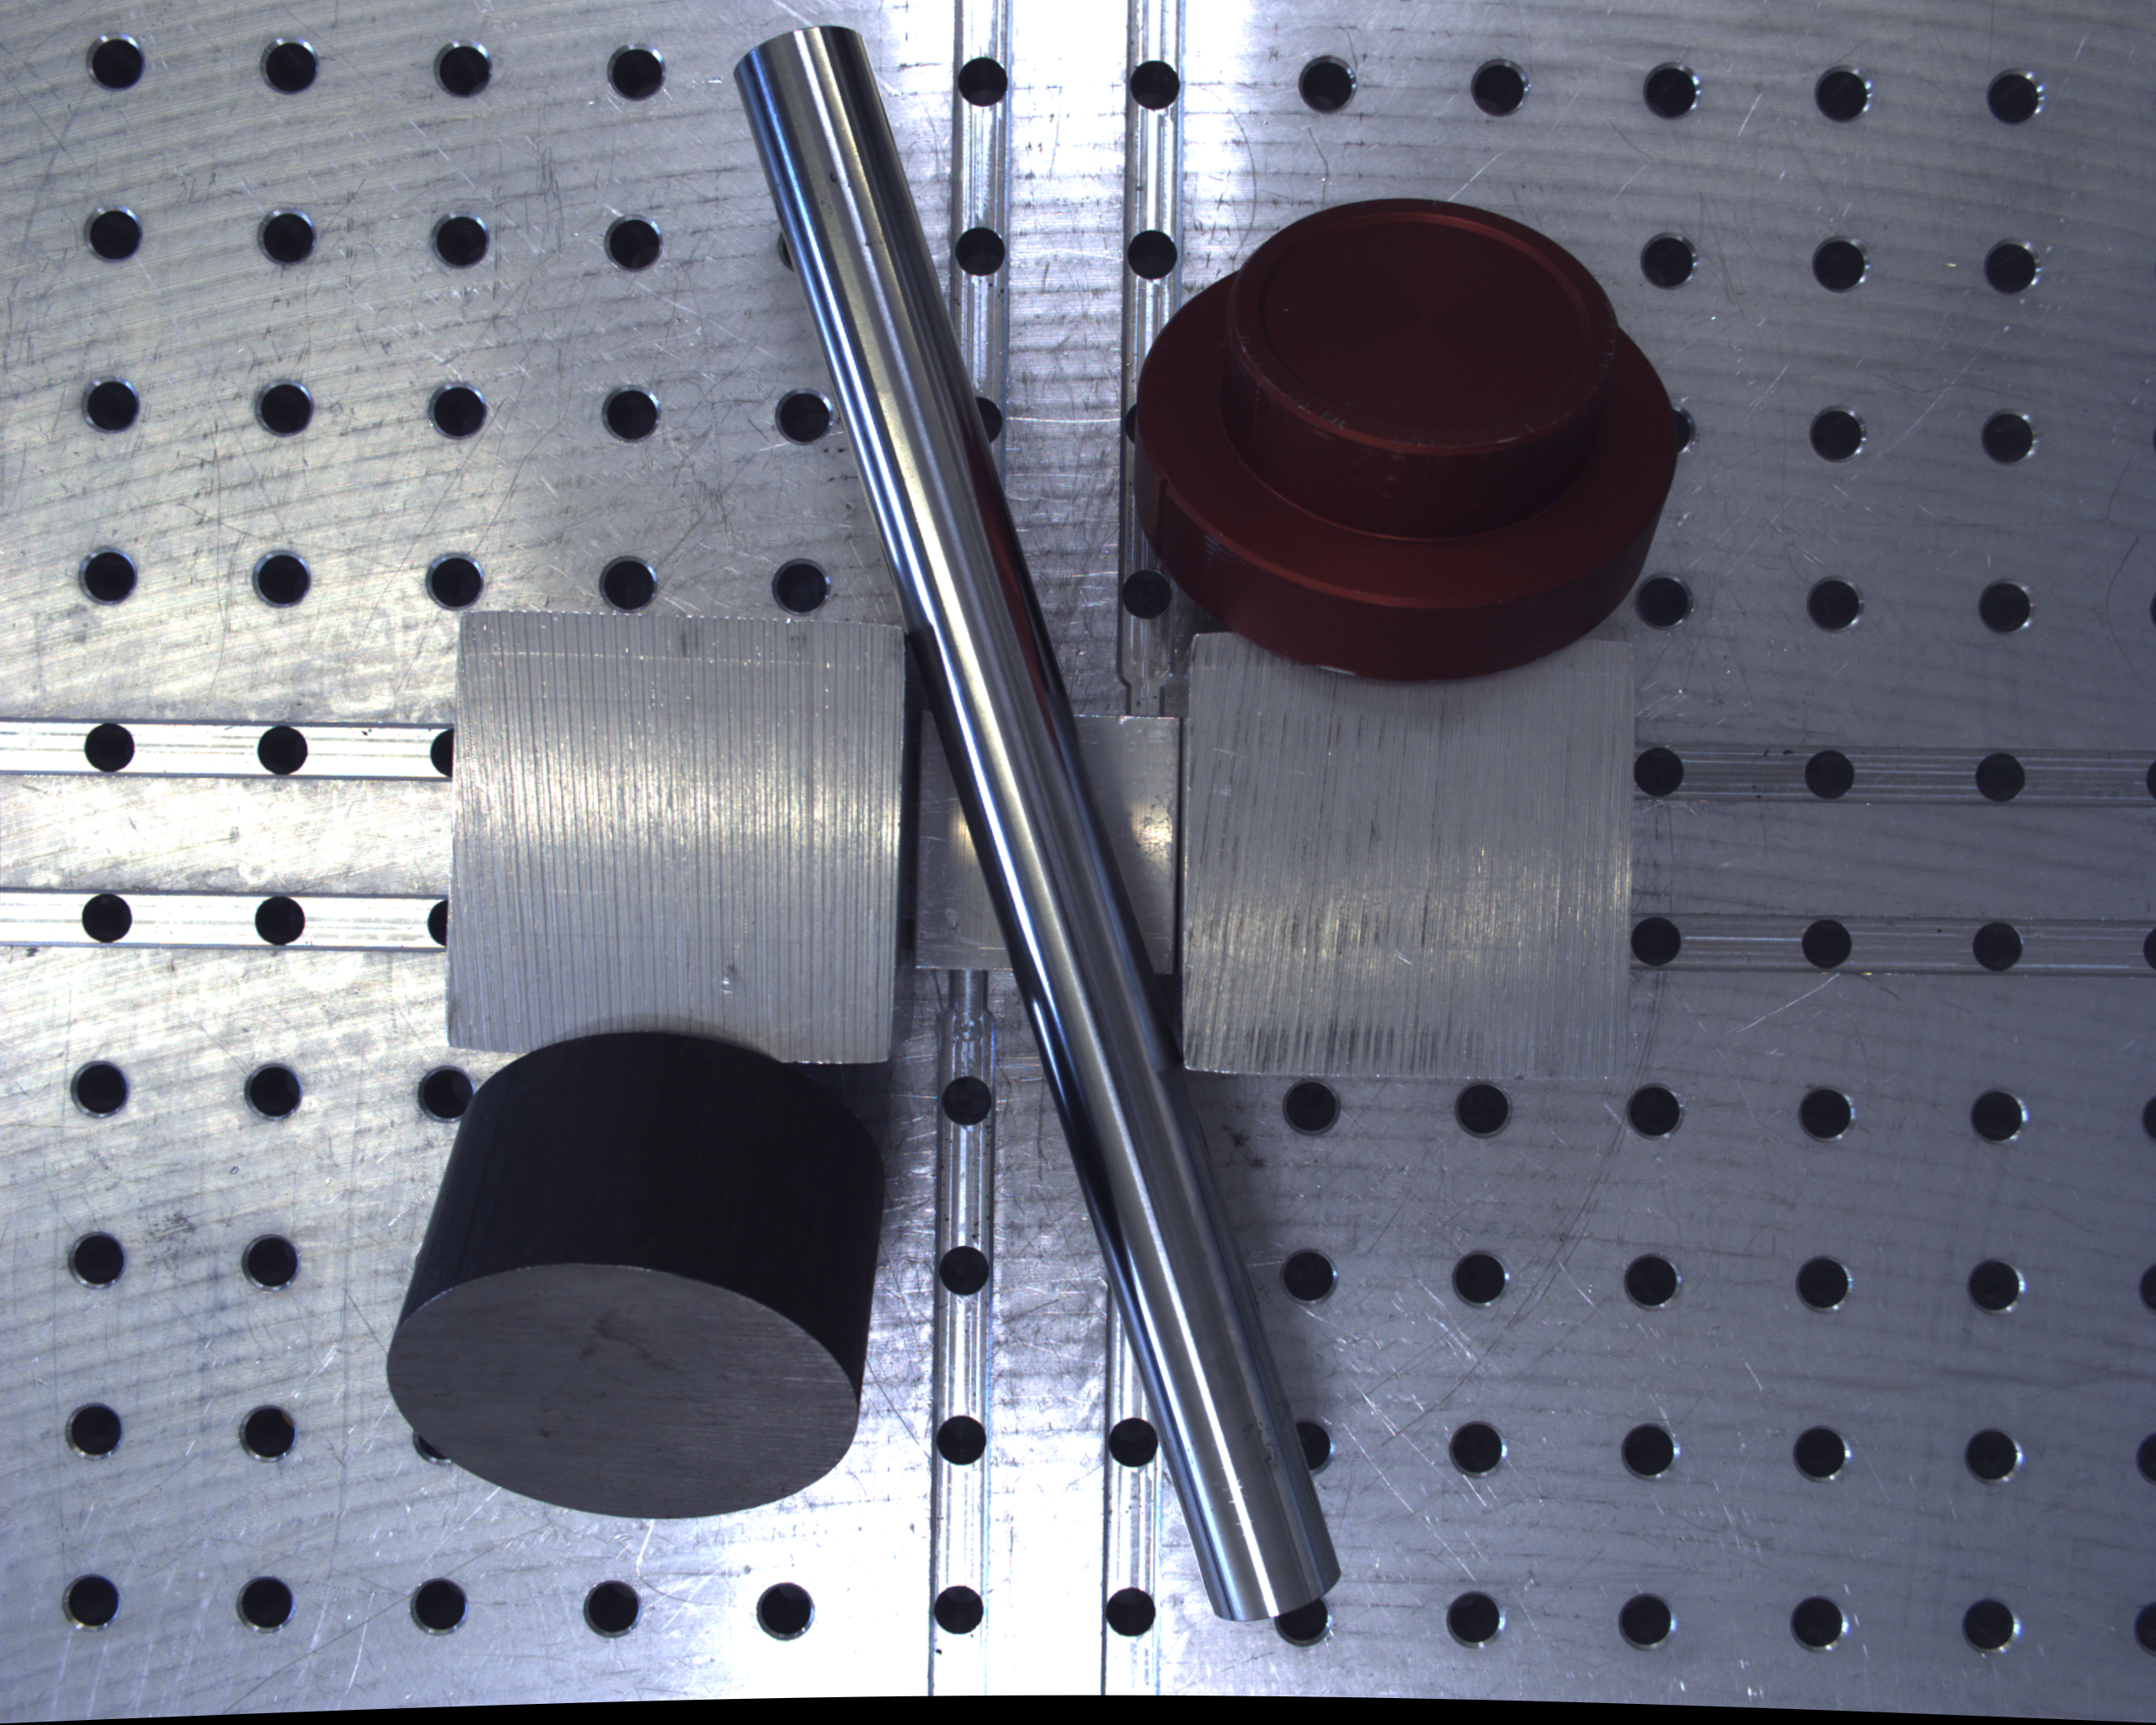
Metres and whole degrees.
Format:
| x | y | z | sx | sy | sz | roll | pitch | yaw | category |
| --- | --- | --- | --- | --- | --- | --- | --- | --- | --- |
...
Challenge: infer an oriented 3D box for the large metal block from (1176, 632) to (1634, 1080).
| x | y | z | sx | sy | sz | roll | pitch | yaw | category |
| --- | --- | --- | --- | --- | --- | --- | --- | --- | --- |
| 0.060 | -0.001 | 0.402 | 0.081 | 0.050 | 0.079 | 1 | 90 | 0 | large metal block |

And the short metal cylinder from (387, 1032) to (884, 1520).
| x | y | z | sx | sy | sz | roll | pitch | yaw | category |
| --- | --- | --- | --- | --- | --- | --- | --- | --- | --- |
| -0.078 | 0.076 | 0.379 | 0.080 | 0.050 | 0.079 | 1 | 133 | 1 | short metal cylinder |

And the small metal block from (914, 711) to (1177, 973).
| x | y | z | sx | sy | sz | roll | pitch | yaw | category |
| --- | --- | --- | --- | --- | --- | --- | --- | --- | --- |
| -0.006 | -0.004 | 0.414 | 0.050 | 0.025 | 0.050 | 1 | 90 | 0 | small metal block |

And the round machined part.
| x | y | z | sx | sy | sz | roll | pitch | yaw | category |
| --- | --- | --- | --- | --- | --- | --- | --- | --- | --- |
| 0.060 | -0.083 | 0.381 | 0.099 | 0.042 | 0.098 | 1 | 55 | -1 | round machined part |

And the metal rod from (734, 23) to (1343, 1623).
| x | y | z | sx | sy | sz | roll | pitch | yaw | category |
| --- | --- | --- | --- | --- | --- | --- | --- | --- | --- |
| -0.007 | -0.007 | 0.387 | 0.025 | 0.025 | 0.298 | -17 | 90 | 0 | metal rod |

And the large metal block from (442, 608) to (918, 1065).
| x | y | z | sx | sy | sz | roll | pitch | yaw | category |
| --- | --- | --- | --- | --- | --- | --- | --- | --- | --- |
| -0.073 | -0.005 | 0.401 | 0.081 | 0.050 | 0.079 | 2 | 90 | 0 | large metal block |
